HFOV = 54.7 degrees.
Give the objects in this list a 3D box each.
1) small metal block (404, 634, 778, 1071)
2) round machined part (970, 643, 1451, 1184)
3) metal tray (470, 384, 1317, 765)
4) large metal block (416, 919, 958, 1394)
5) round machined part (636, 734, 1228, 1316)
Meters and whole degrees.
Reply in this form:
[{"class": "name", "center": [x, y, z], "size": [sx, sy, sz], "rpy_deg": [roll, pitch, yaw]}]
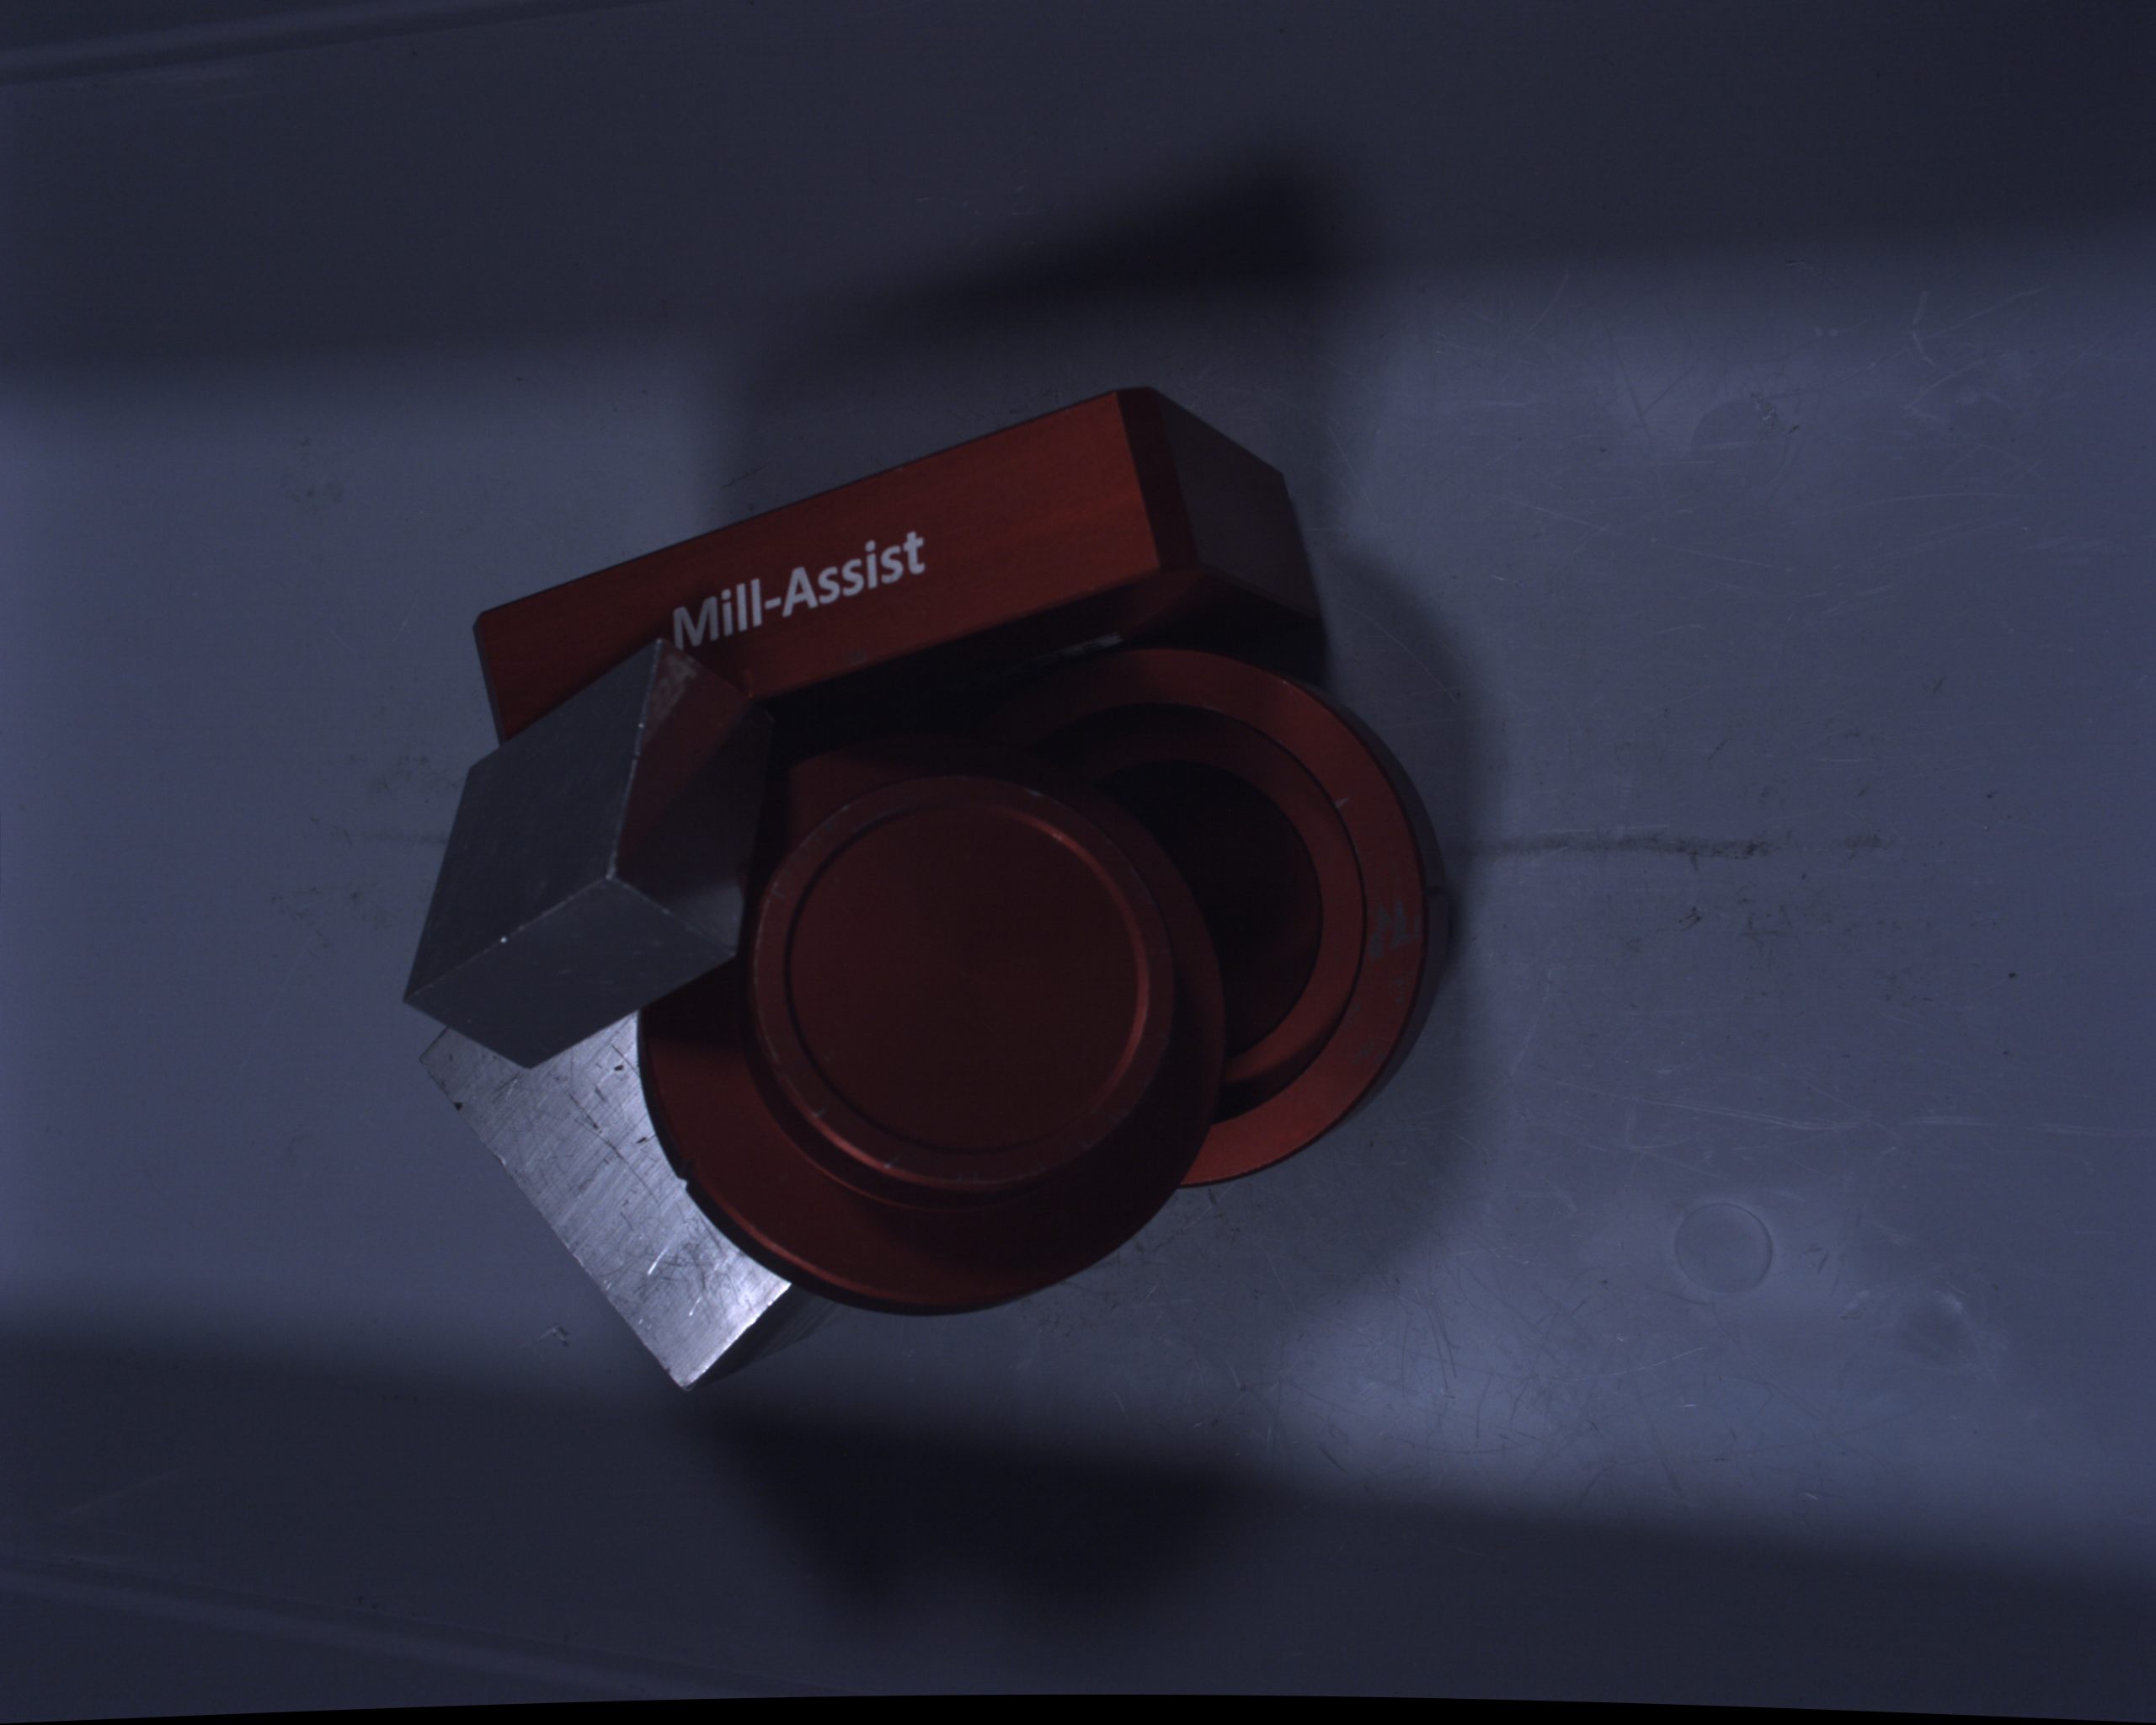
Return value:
[{"class": "small metal block", "center": [-0.078, -0.001, 0.337], "size": [0.050, 0.025, 0.050], "rpy_deg": [-28, 42, 30]}, {"class": "round machined part", "center": [0.021, 0.009, 0.393], "size": [0.098, 0.042, 0.097], "rpy_deg": [0, 90, 19]}, {"class": "metal tray", "center": [-0.031, -0.045, 0.384], "size": [0.130, 0.090, 0.030], "rpy_deg": [-16, 86, 19]}, {"class": "large metal block", "center": [-0.063, 0.046, 0.401], "size": [0.050, 0.080, 0.080], "rpy_deg": [-46, 76, 14]}, {"class": "round machined part", "center": [-0.022, 0.024, 0.345], "size": [0.099, 0.042, 0.098], "rpy_deg": [5, 71, -14]}]
